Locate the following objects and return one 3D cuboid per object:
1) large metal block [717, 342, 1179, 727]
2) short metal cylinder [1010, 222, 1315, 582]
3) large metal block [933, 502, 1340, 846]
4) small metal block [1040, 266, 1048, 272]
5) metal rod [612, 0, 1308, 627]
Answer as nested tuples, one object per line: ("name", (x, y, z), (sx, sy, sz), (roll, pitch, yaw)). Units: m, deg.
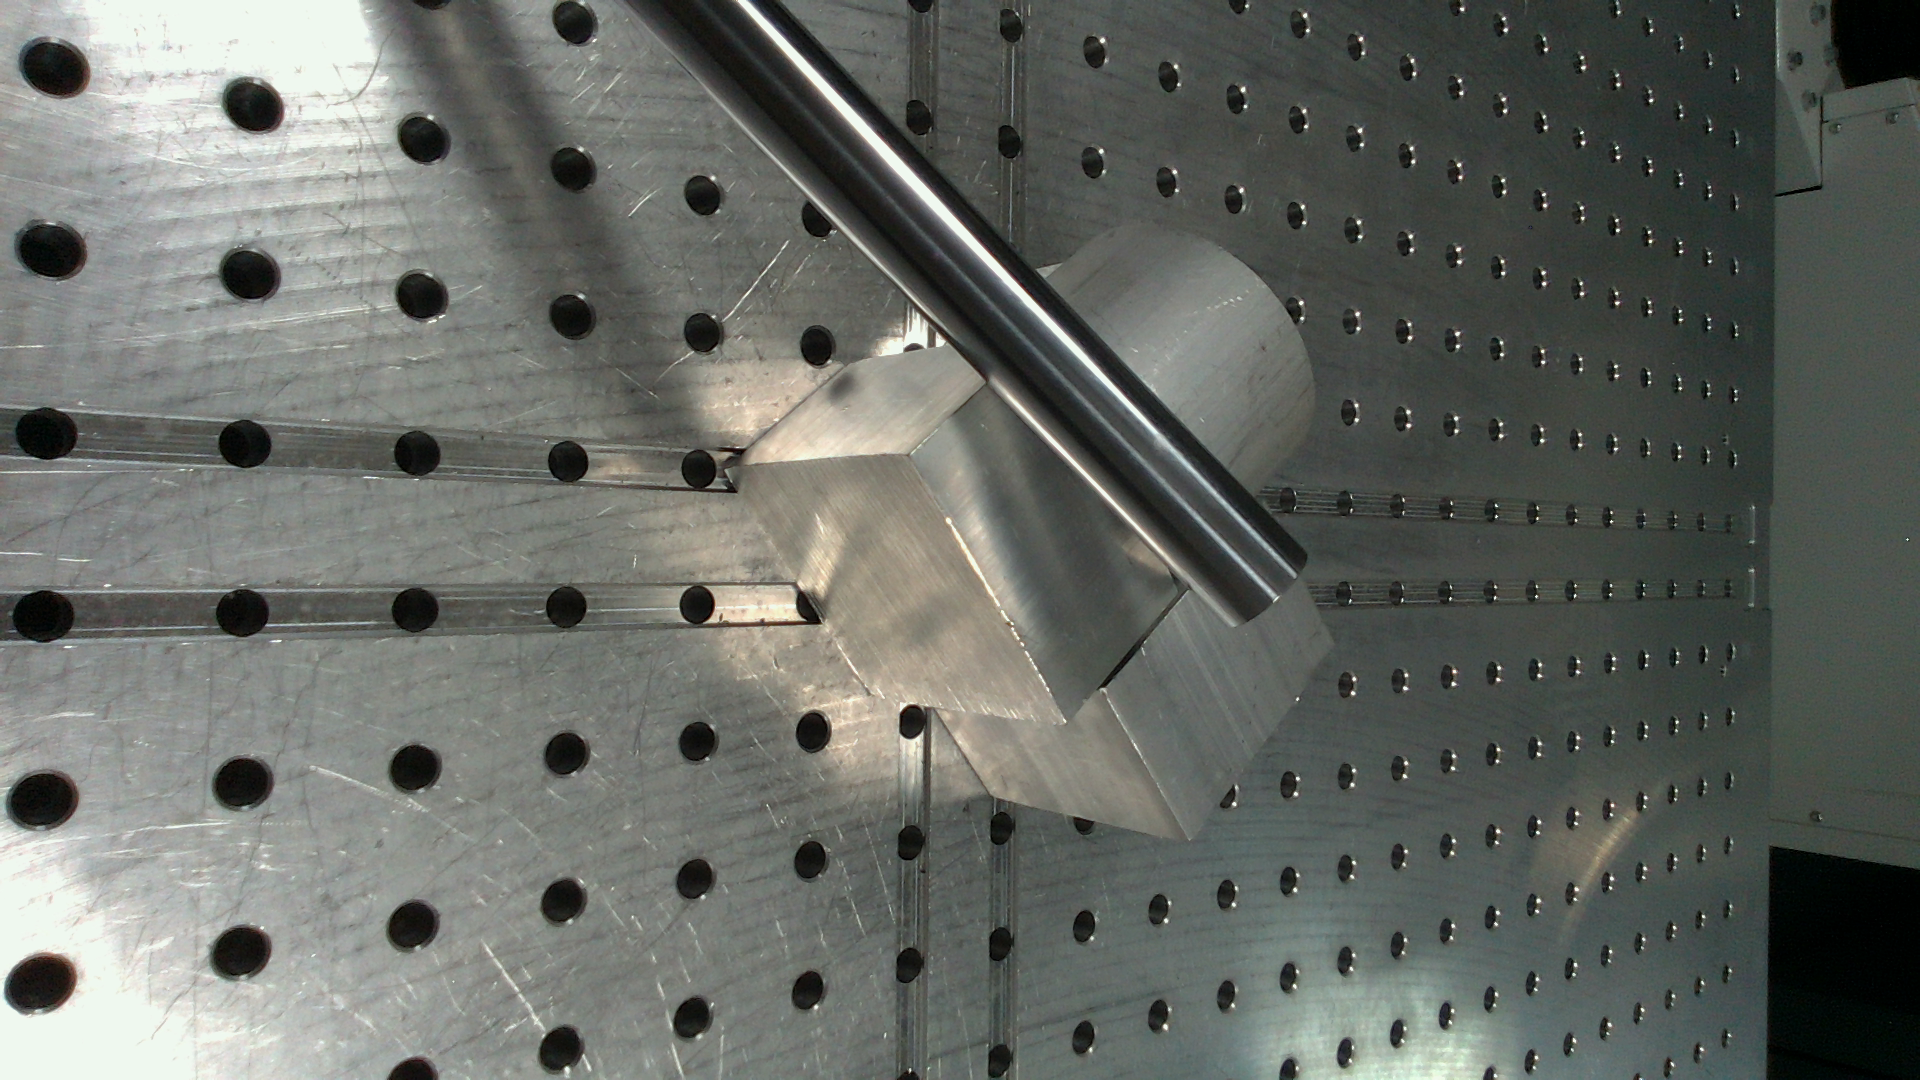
("large metal block", (-0.003, -0.003, 0.354), (0.050, 0.080, 0.080), (-45, 117, -30))
("short metal cylinder", (0.044, -0.035, 0.360), (0.050, 0.080, 0.080), (-44, 116, -31))
("large metal block", (0.047, 0.034, 0.393), (0.080, 0.080, 0.050), (-45, 117, -30))
("small metal block", (0.022, -0.046, 0.411), (0.050, 0.025, 0.050), (-49, 119, -29))
("metal rod", (-0.037, -0.095, 0.294), (0.300, 0.025, 0.025), (45, 61, -7))
